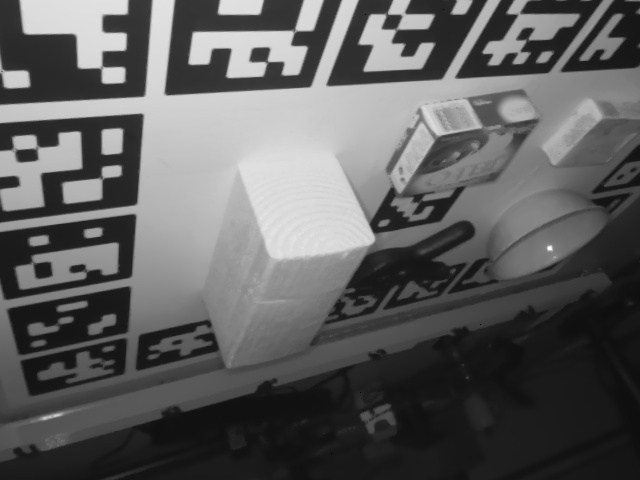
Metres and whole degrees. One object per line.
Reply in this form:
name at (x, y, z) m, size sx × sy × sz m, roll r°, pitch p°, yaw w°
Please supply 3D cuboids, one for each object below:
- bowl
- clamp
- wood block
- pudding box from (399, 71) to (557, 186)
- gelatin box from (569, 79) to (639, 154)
bowl at (0.290, -0.018, 0.817) m, size 0.163 × 0.055 × 0.160 m, roll -17°, pitch 146°, yaw -11°
clamp at (0.128, 0.023, 0.791) m, size 0.166 × 0.036 × 0.120 m, roll -14°, pitch 148°, yaw -12°
wood block at (-0.029, 0.017, 0.608) m, size 0.091 × 0.091 × 0.203 m, roll -7°, pitch 145°, yaw -24°
pudding box at (0.133, -0.096, 0.596) m, size 0.115 × 0.038 × 0.089 m, roll -12°, pitch 143°, yaw -23°
gelatin box at (0.302, -0.119, 0.680) m, size 0.091 × 0.030 × 0.072 m, roll -4°, pitch 142°, yaw -29°
